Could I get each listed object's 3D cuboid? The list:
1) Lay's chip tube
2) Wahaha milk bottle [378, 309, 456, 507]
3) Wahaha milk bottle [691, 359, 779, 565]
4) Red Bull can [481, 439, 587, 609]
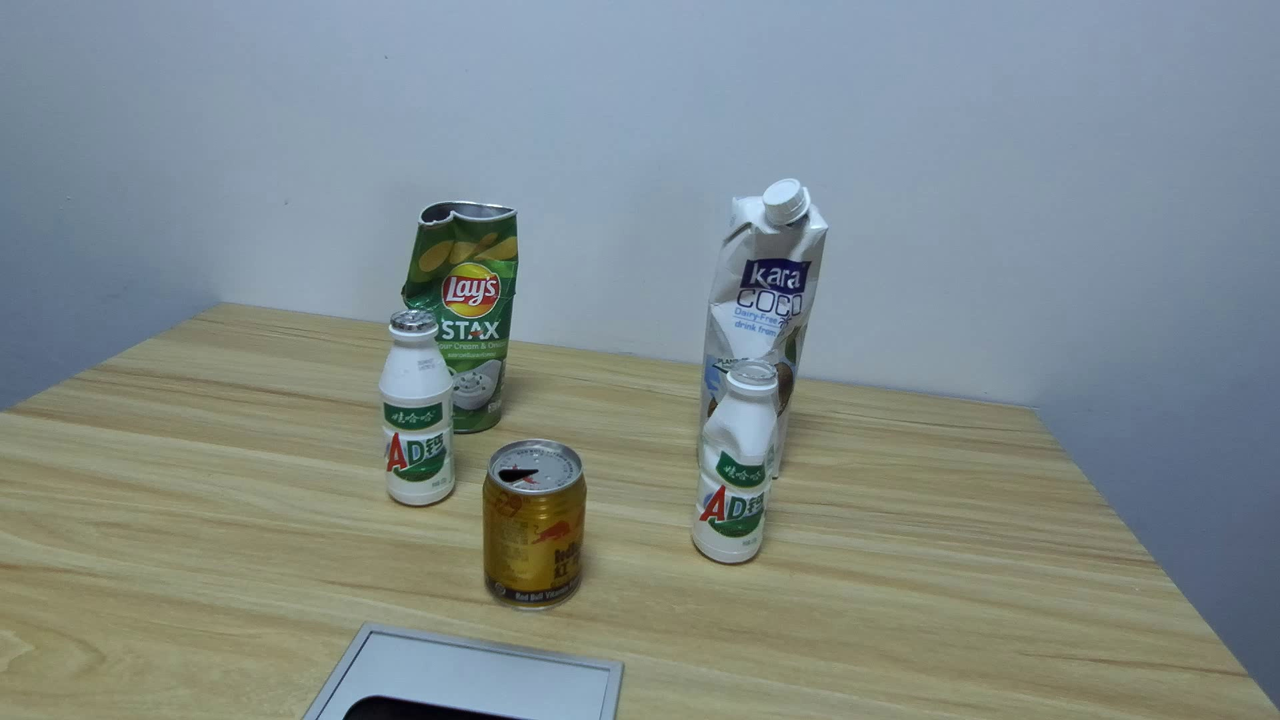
[{"bbox_3d":[-0.158,-0.037,0.629,0.069,0.201,0.077,20,31,29],"label":"Lay's chip tube"},{"bbox_3d":[-0.167,0.037,0.531,0.053,0.147,0.053,4,25,-1],"label":"Wahaha milk bottle"},{"bbox_3d":[0.069,0.072,0.496,0.055,0.149,0.055,3,27,-1],"label":"Wahaha milk bottle"},{"bbox_3d":[-0.069,0.107,0.462,0.067,0.093,0.067,5,25,-2],"label":"Red Bull can"}]
